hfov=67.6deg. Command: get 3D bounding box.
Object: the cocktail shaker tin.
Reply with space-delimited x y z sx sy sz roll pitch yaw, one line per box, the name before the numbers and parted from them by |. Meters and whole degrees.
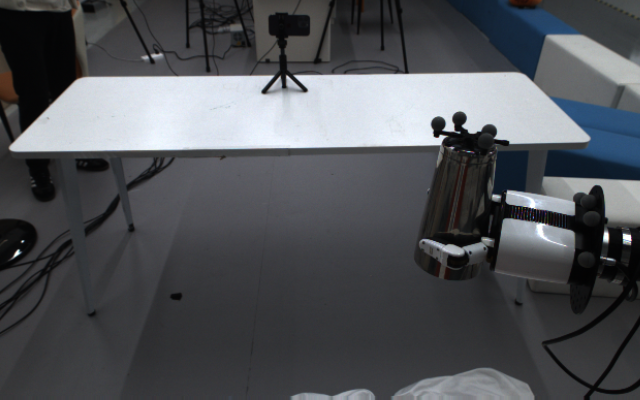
cocktail shaker tin | 0.180 0.008 0.624 0.093 0.170 0.093 1 28 -1
